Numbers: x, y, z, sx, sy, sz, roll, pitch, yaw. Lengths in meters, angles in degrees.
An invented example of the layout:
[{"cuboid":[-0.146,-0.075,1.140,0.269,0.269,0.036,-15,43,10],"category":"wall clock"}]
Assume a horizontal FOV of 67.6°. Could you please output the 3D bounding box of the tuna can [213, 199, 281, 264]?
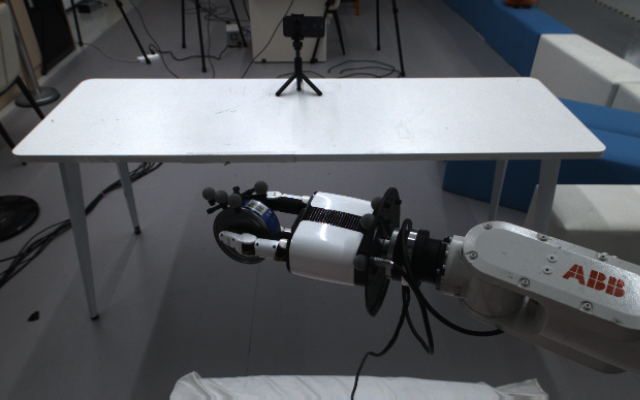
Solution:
[{"cuboid":[-0.094,0.045,0.643,0.085,0.085,0.034,13,29,15],"category":"tuna can"}]
